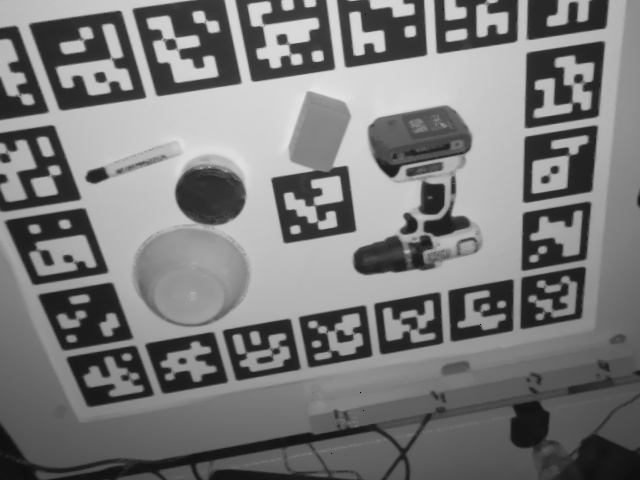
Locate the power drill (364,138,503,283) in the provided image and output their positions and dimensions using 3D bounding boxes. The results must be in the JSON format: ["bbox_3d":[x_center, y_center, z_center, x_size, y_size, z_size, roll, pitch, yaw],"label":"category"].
[{"bbox_3d":[0.138,-0.029,0.879,0.184,0.058,0.186,-9,122,3],"label":"power drill"}]

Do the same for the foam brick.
[{"bbox_3d":[0.008,-0.109,0.825,0.052,0.053,0.077,13,116,-11],"label":"foam brick"}]

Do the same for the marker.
[{"bbox_3d":[-0.219,-0.070,0.831,0.121,0.020,0.019,-17,118,4],"label":"marker"}]

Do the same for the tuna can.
[{"bbox_3d":[-0.126,-0.036,0.854,0.086,0.034,0.085,-2,120,-2],"label":"tuna can"}]

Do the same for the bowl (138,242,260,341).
[{"bbox_3d":[-0.158,0.082,0.916,0.162,0.055,0.160,-6,126,-7],"label":"bowl"}]
